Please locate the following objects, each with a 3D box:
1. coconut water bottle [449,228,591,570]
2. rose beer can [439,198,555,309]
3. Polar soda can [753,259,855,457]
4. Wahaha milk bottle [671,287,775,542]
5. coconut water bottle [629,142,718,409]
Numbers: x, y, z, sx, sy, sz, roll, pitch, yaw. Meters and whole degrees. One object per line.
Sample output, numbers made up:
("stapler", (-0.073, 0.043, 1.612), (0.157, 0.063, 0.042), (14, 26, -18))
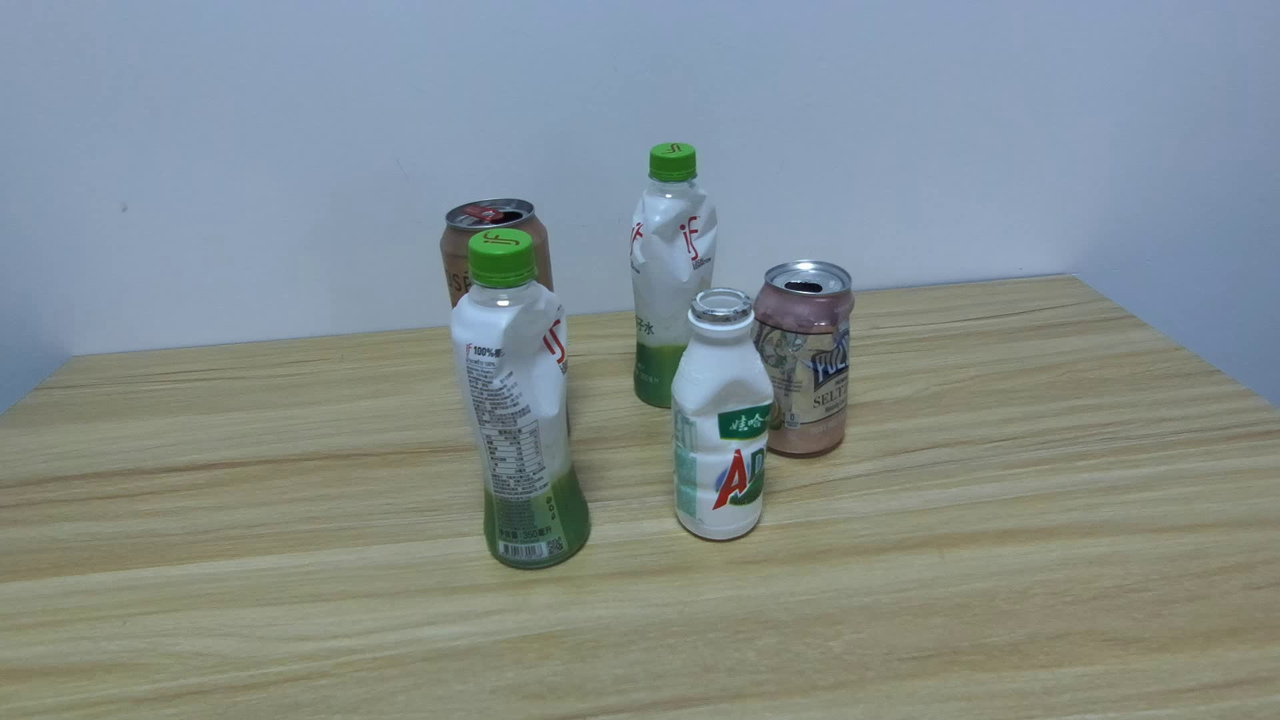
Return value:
("coconut water bottle", (-0.064, 0.023, 0.381), (0.069, 0.187, 0.069), (-1, 27, 1))
("rose beer can", (-0.088, -0.022, 0.485), (0.068, 0.169, 0.068), (-2, 32, 2))
("Polar soda can", (0.108, 0.001, 0.476), (0.074, 0.122, 0.067), (-5, 28, -6))
("Wahaha milk bottle", (0.045, 0.033, 0.395), (0.056, 0.148, 0.056), (-1, 32, 1))
("coconut water bottle", (0.025, -0.057, 0.503), (0.067, 0.187, 0.067), (-1, 22, 1))
